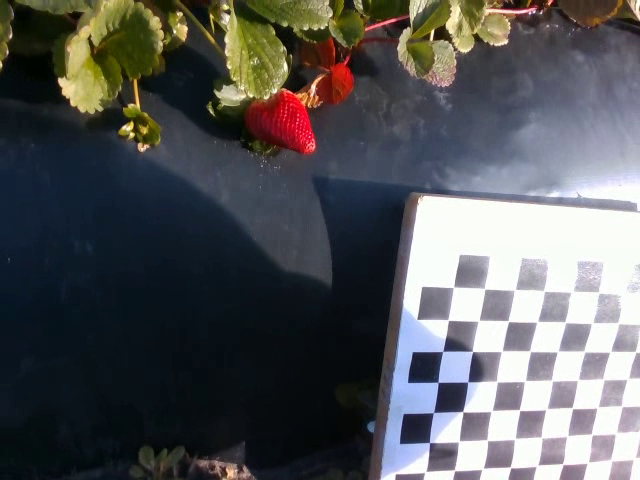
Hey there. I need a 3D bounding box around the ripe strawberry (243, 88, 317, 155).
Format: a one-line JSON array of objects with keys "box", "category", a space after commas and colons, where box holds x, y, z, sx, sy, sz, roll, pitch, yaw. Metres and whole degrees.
[{"box": [-0.022, -0.071, 0.380, 0.056, 0.040, 0.040, 45, 0, 23], "category": "ripe strawberry"}]
